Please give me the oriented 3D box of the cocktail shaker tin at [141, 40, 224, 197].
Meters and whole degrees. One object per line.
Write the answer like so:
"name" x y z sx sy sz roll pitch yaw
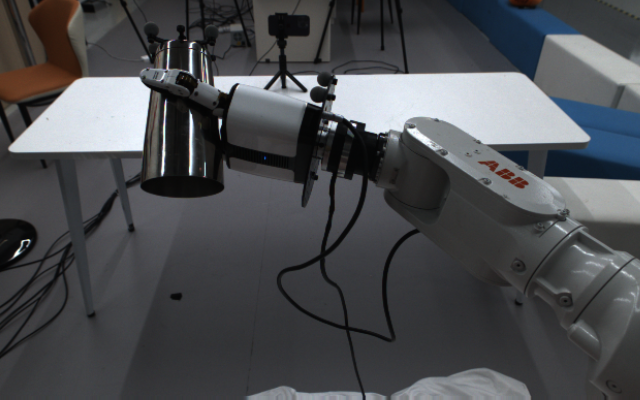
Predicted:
"cocktail shaker tin" -0.161 -0.095 0.569 0.093 0.093 0.170 -3 76 -7
